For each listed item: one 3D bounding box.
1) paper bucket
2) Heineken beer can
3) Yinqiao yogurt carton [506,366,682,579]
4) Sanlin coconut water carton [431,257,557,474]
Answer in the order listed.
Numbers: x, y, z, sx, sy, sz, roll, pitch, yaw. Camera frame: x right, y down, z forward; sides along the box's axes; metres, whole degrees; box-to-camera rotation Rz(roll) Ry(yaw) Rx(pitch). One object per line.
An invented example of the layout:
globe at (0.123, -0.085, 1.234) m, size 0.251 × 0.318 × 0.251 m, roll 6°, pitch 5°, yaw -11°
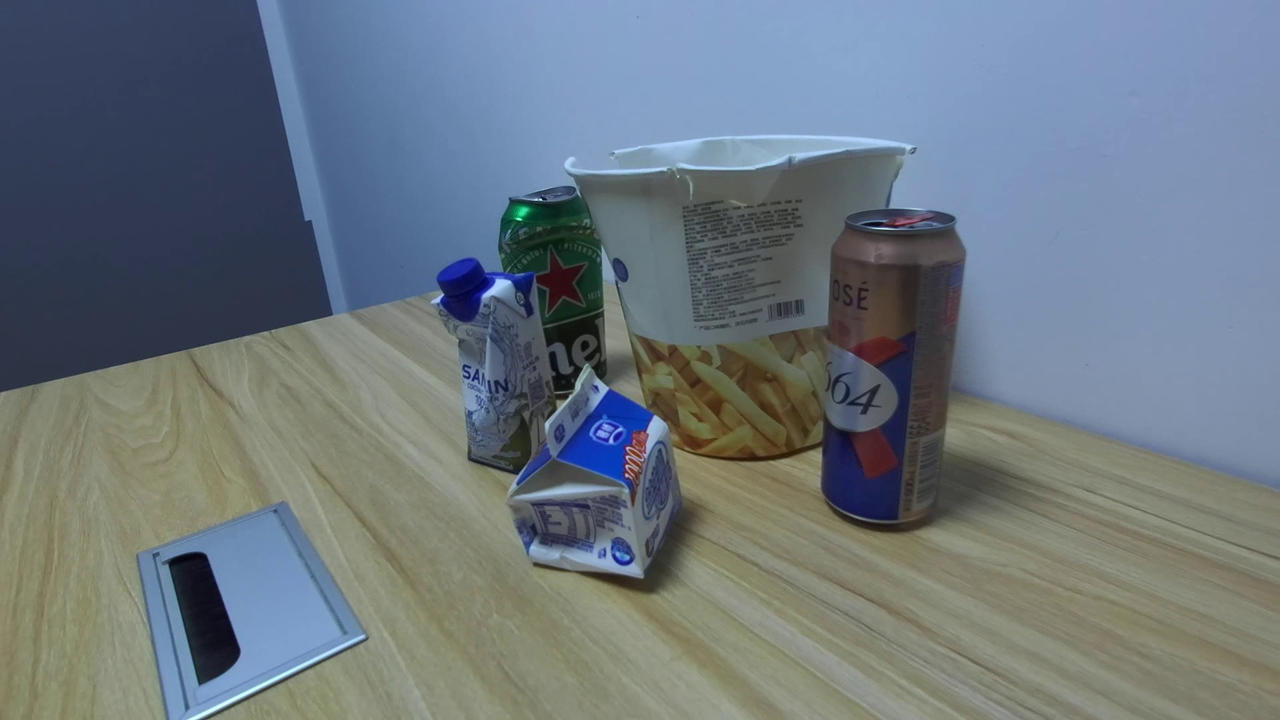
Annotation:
paper bucket at (0.067, -0.050, 0.499) m, size 0.203 × 0.197 × 0.145 m, roll -14°, pitch 23°, yaw -27°
Heineken beer can at (-0.065, -0.054, 0.578) m, size 0.078 × 0.164 × 0.066 m, roll -7°, pitch 21°, yaw -3°
Yinqiao yogurt carton at (-0.030, 0.059, 0.381) m, size 0.080 × 0.097 × 0.074 m, roll -5°, pitch 21°, yaw 20°
Sanlin coconut water carton at (-0.094, 0.000, 0.476) m, size 0.060 × 0.144 × 0.070 m, roll 9°, pitch 26°, yaw 32°
